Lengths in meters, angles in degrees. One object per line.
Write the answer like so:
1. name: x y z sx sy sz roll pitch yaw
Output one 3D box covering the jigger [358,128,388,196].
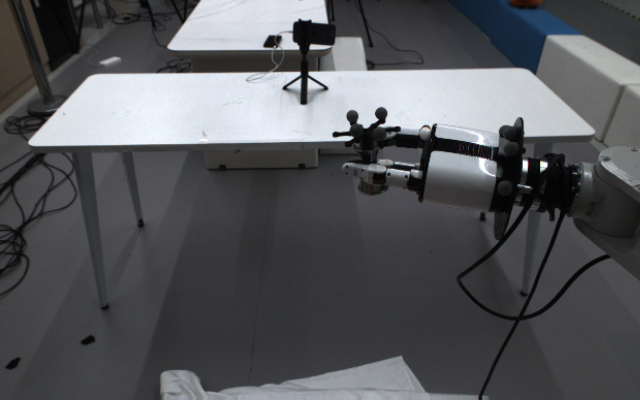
1. jigger: 0.070 -0.049 0.667 0.043 0.071 0.043 -9 31 5
